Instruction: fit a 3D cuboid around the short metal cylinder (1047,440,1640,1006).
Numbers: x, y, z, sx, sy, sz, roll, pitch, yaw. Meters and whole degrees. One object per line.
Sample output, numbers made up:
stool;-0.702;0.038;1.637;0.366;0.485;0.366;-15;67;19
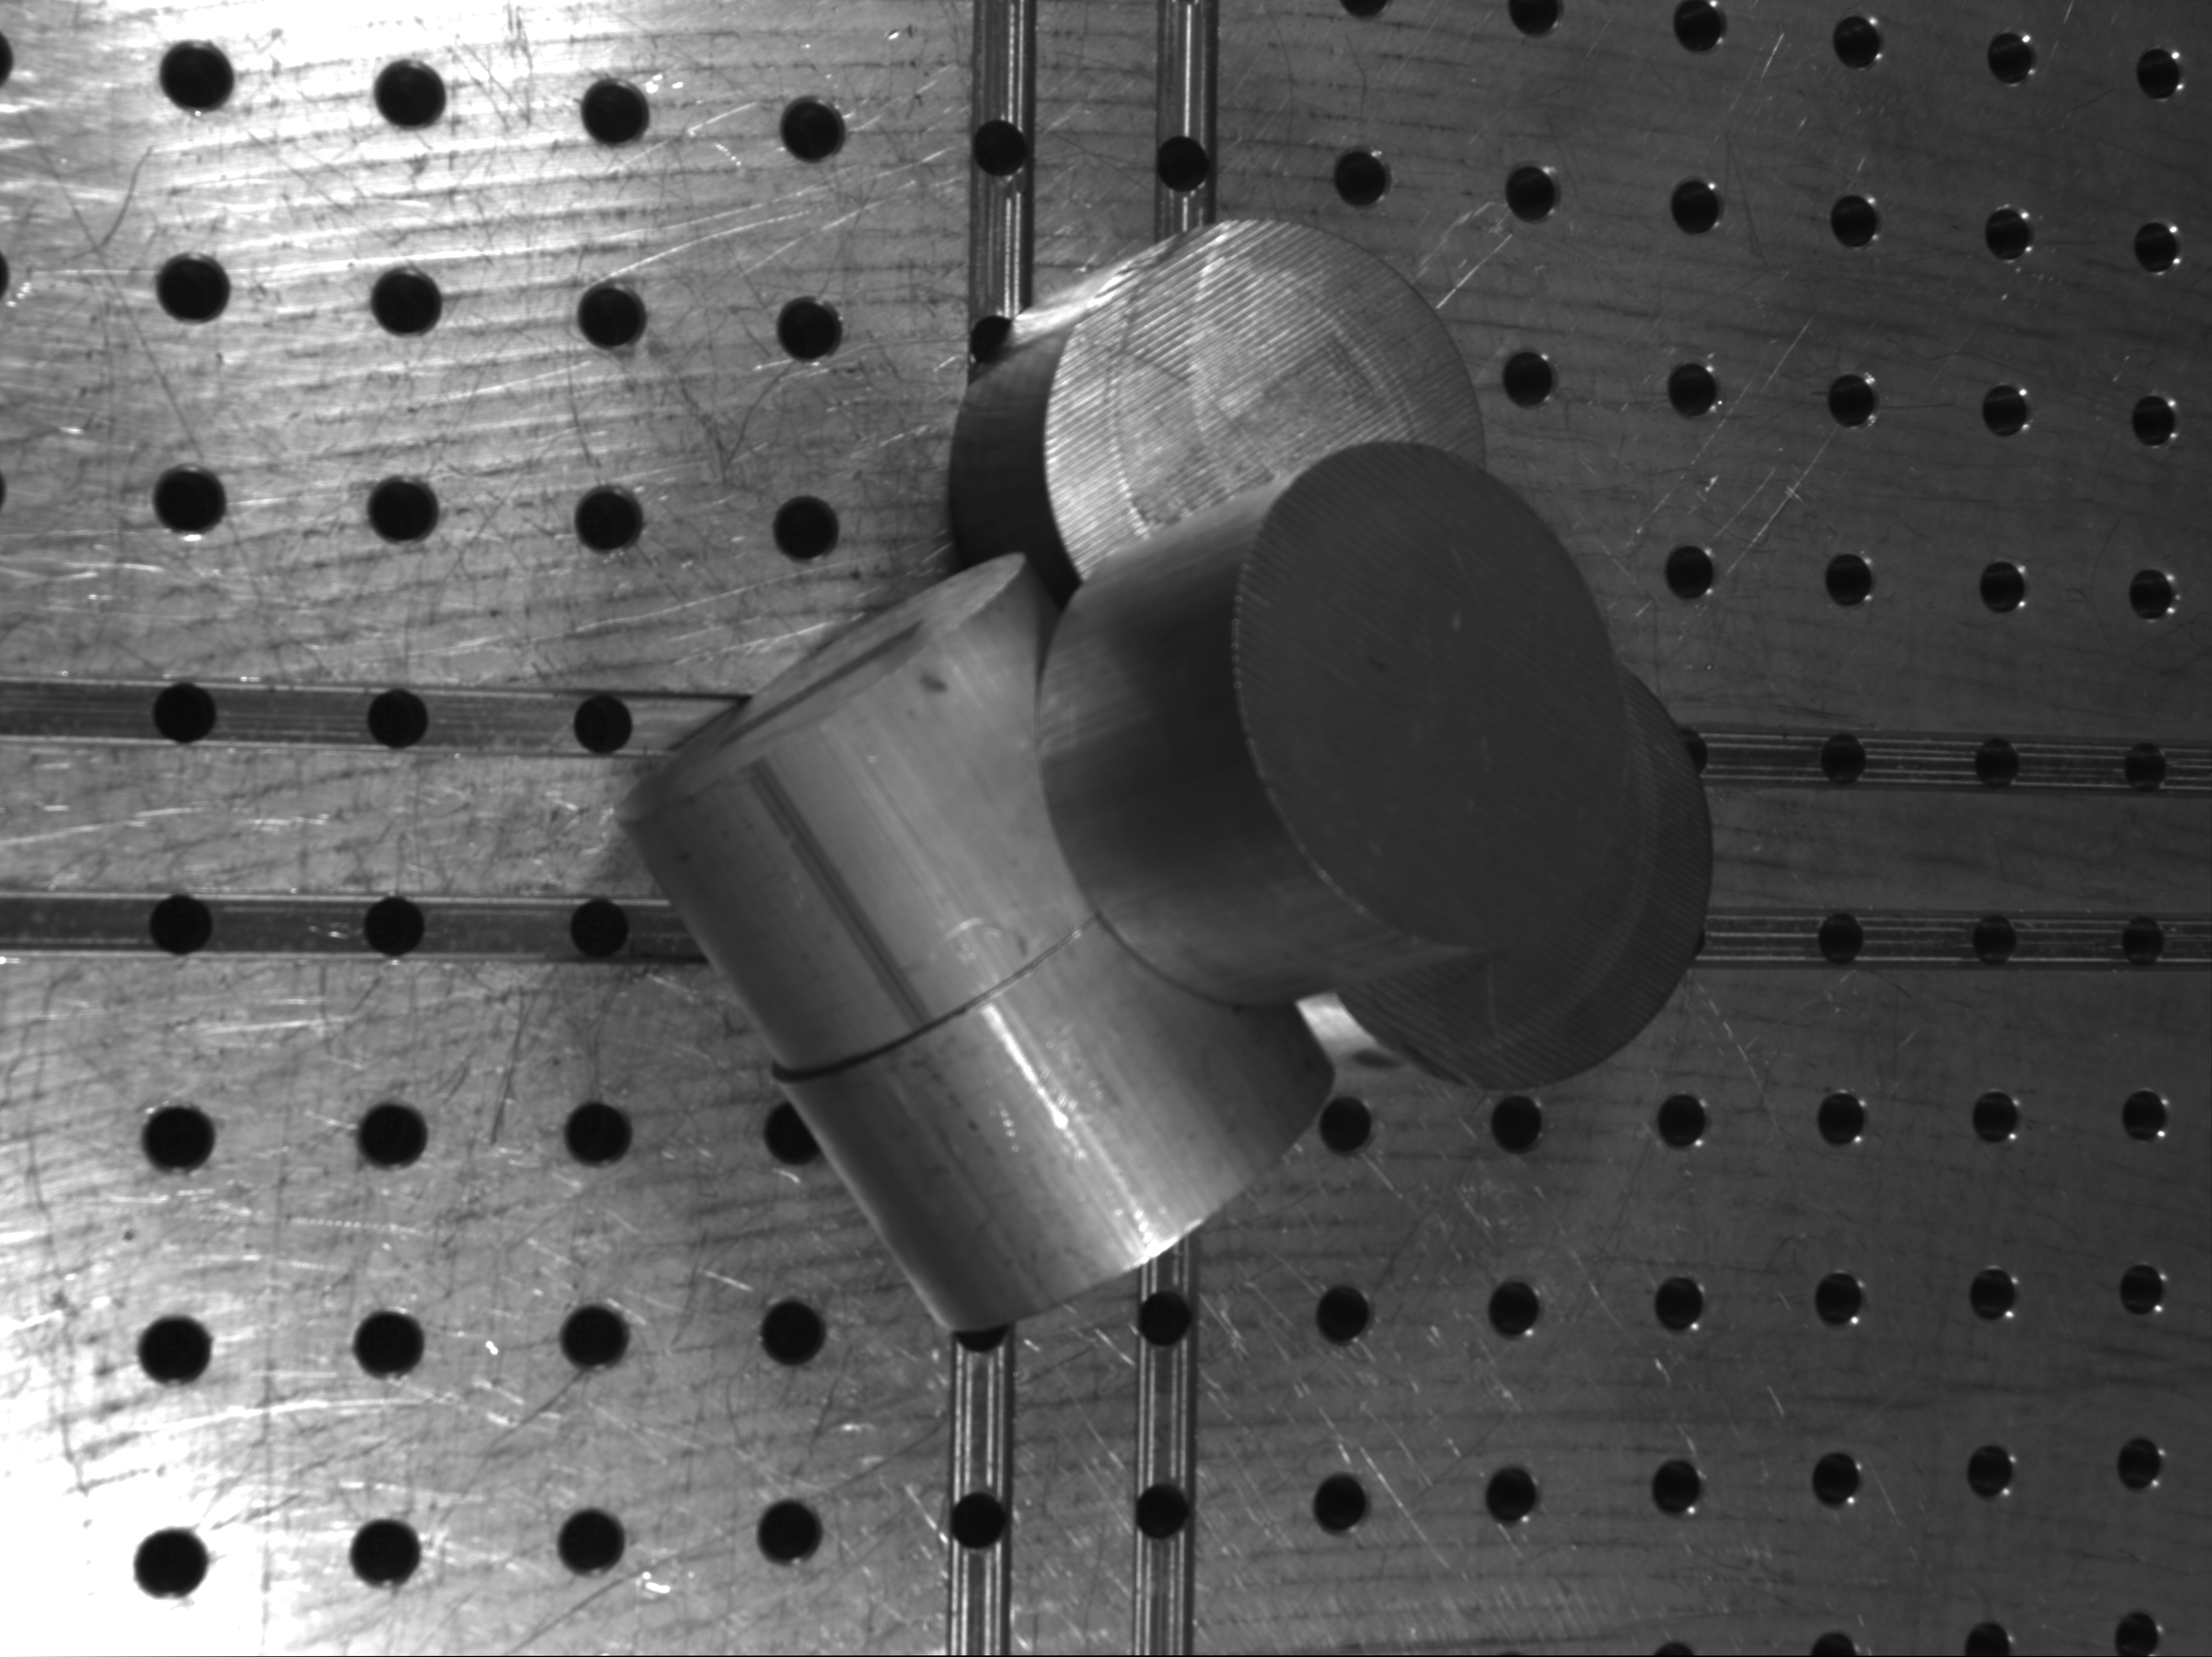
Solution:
short metal cylinder;0.038;-0.016;0.578;0.080;0.050;0.080;11;72;-35

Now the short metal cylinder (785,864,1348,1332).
short metal cylinder;-0.007;0.040;0.614;0.080;0.080;0.050;-35;101;-16

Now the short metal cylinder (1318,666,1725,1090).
short metal cylinder;0.063;0.005;0.654;0.080;0.050;0.080;0;90;-20

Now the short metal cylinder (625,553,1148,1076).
short metal cylinder;-0.032;-0.003;0.605;0.080;0.080;0.050;-36;101;-16

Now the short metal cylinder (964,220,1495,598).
short metal cylinder;0.021;-0.062;0.639;0.080;0.050;0.080;0;90;-20
